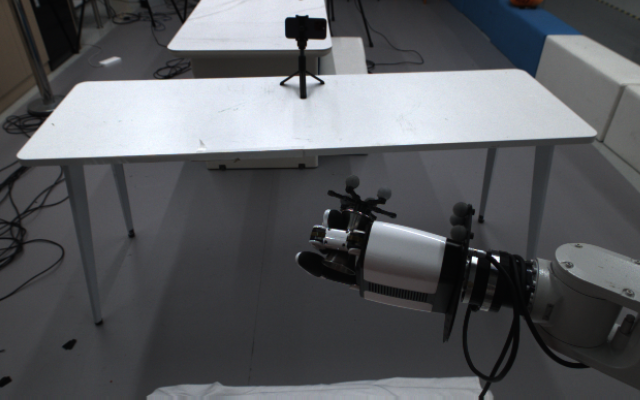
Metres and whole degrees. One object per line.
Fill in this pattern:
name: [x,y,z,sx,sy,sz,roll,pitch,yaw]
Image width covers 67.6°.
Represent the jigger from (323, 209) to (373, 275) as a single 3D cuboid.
jigger: [0.034,0.048,0.579,0.043,0.043,0.071,16,70,19]
